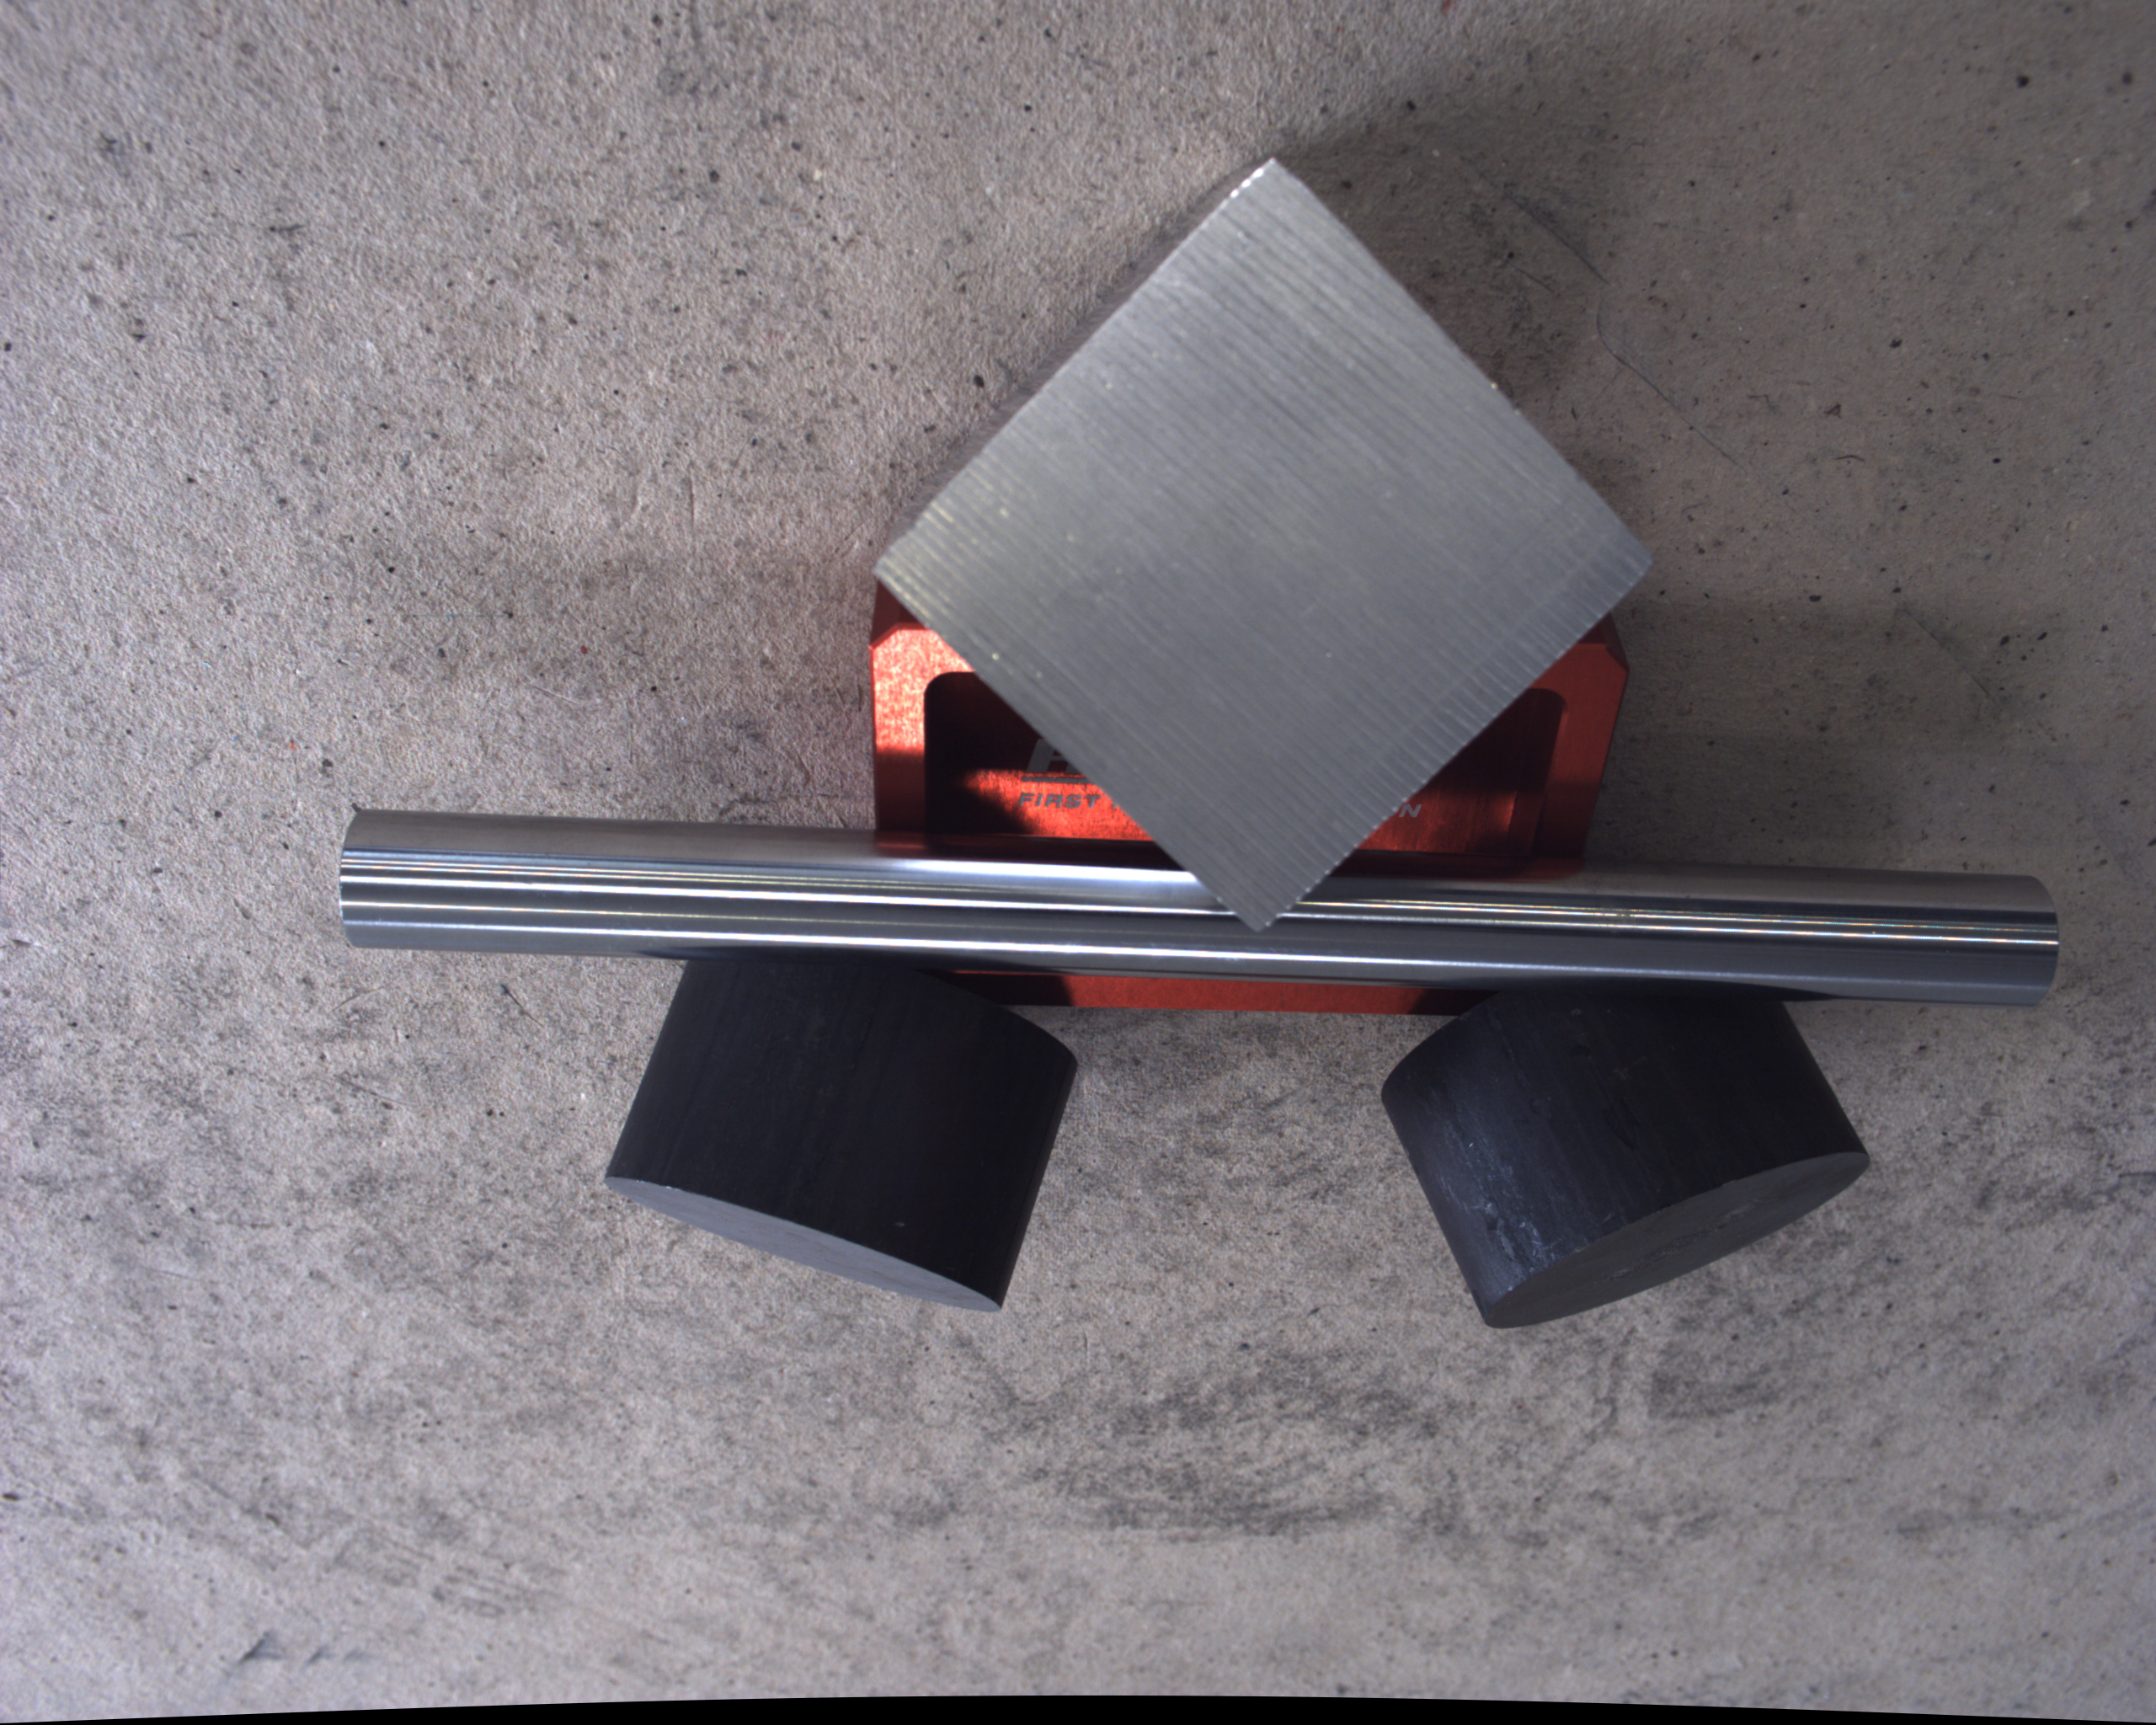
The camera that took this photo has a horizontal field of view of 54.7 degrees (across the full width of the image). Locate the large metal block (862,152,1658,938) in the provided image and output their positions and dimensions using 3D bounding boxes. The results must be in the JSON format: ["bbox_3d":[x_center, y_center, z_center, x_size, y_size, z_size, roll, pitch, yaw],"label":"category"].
[{"bbox_3d":[0.026,-0.050,0.322,0.080,0.050,0.080,43,102,-12],"label":"large metal block"}]

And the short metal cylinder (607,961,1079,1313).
[{"bbox_3d":[-0.046,0.052,0.412,0.080,0.050,0.080,16,162,6],"label":"short metal cylinder"}]

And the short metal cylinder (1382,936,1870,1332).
[{"bbox_3d":[0.108,0.054,0.418,0.081,0.050,0.080,-17,154,-8],"label":"short metal cylinder"}]

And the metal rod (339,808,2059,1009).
[{"bbox_3d":[0.023,0.009,0.377,0.302,0.025,0.025,2,130,-2],"label":"metal rod"}]

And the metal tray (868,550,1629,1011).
[{"bbox_3d":[0.028,-0.015,0.394,0.131,0.030,0.089,1,130,-2],"label":"metal tray"}]
